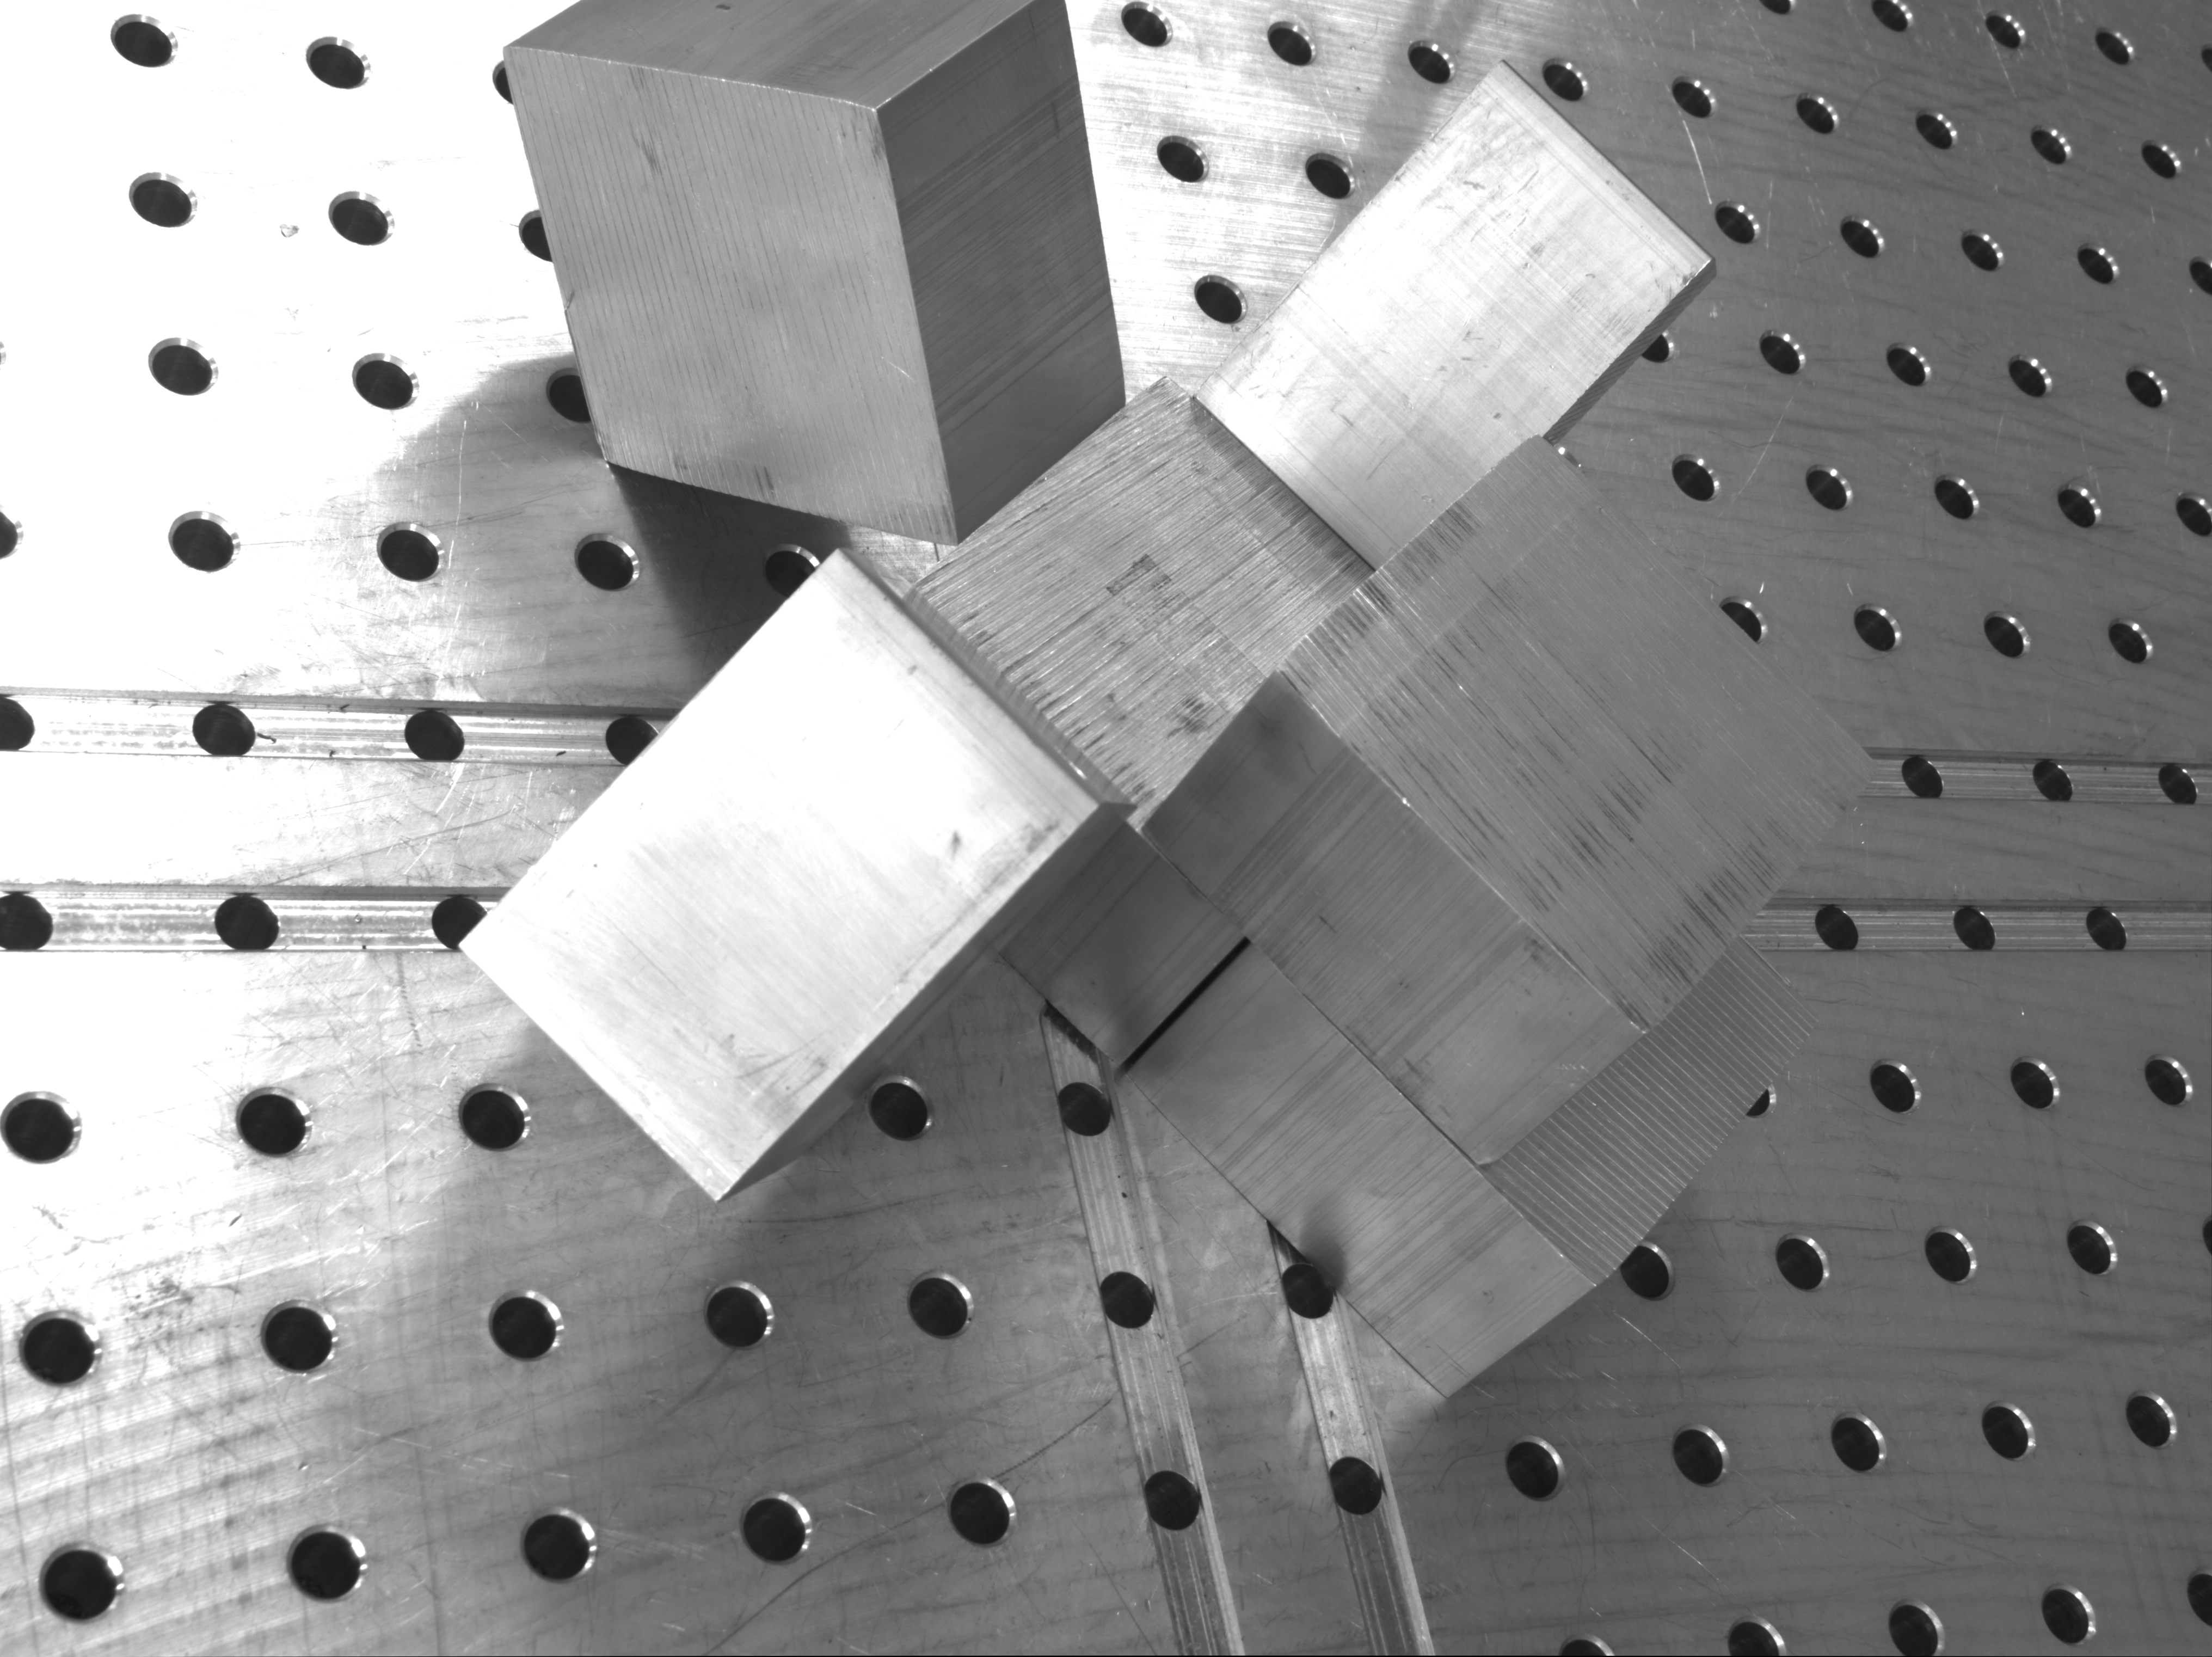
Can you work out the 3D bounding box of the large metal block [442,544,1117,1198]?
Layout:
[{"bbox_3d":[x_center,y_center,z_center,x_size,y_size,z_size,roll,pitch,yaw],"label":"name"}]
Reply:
[{"bbox_3d":[-0.046,0.006,0.559,0.050,0.080,0.080,44,93,3],"label":"large metal block"}]

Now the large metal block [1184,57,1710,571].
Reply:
[{"bbox_3d":[0.065,-0.091,0.678,0.050,0.080,0.080,44,11,3],"label":"large metal block"}]

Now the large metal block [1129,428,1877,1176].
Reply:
[{"bbox_3d":[0.065,-0.005,0.599,0.080,0.050,0.080,45,50,3],"label":"large metal block"}]

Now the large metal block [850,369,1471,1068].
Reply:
[{"bbox_3d":[0.006,-0.020,0.642,0.080,0.050,0.080,44,51,2],"label":"large metal block"}]

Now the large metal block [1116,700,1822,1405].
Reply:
[{"bbox_3d":[0.063,0.037,0.636,0.080,0.050,0.080,44,50,4],"label":"large metal block"}]

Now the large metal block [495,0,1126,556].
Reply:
[{"bbox_3d":[-0.049,-0.101,0.623,0.080,0.080,0.050,16,43,32],"label":"large metal block"}]
